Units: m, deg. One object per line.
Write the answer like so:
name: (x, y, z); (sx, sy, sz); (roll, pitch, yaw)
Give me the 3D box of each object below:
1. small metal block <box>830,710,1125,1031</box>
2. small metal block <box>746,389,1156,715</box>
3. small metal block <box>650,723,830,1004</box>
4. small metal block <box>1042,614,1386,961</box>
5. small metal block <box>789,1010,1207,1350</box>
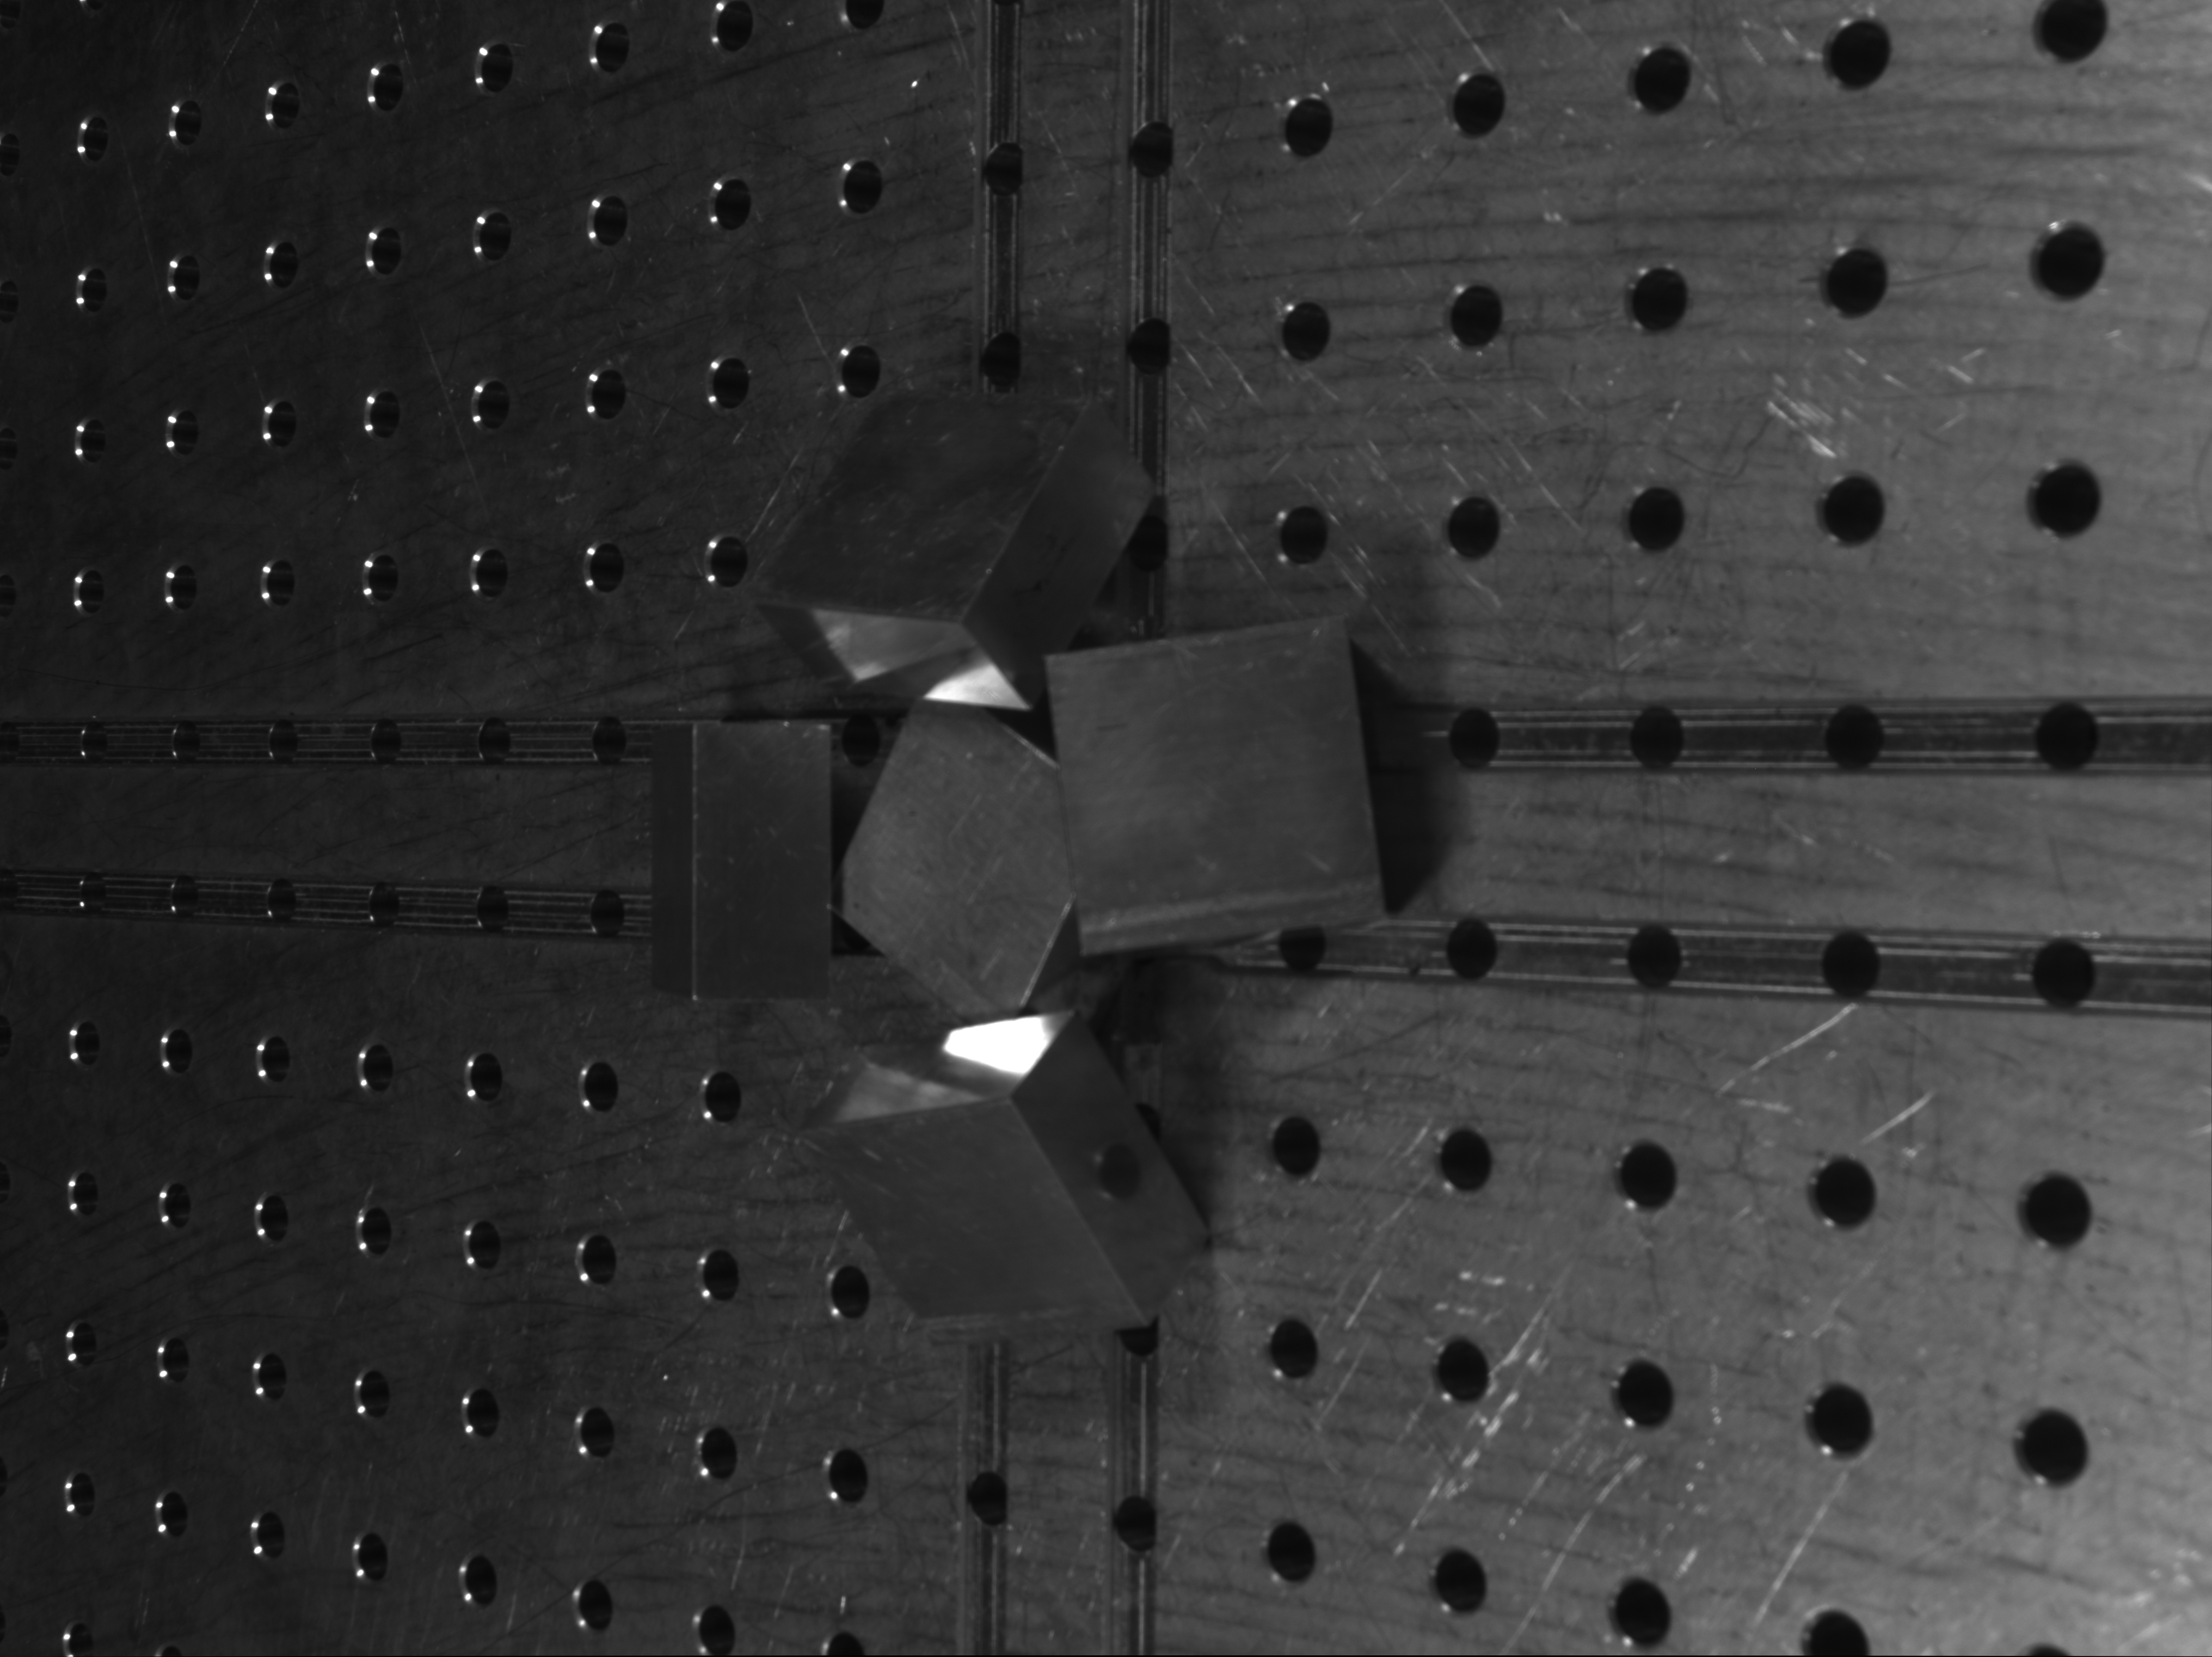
small metal block: (-0.018, 0.005, 0.653); (0.050, 0.025, 0.050); (38, 113, 33)
small metal block: (-0.027, -0.050, 0.646); (0.050, 0.025, 0.050); (8, 59, 39)
small metal block: (-0.069, 0.006, 0.681); (0.050, 0.025, 0.050); (179, 91, -74)
small metal block: (0.018, -0.006, 0.609); (0.050, 0.025, 0.050); (-8, 84, 4)
small metal block: (-0.019, 0.062, 0.638); (0.050, 0.025, 0.050); (-12, 118, 39)
